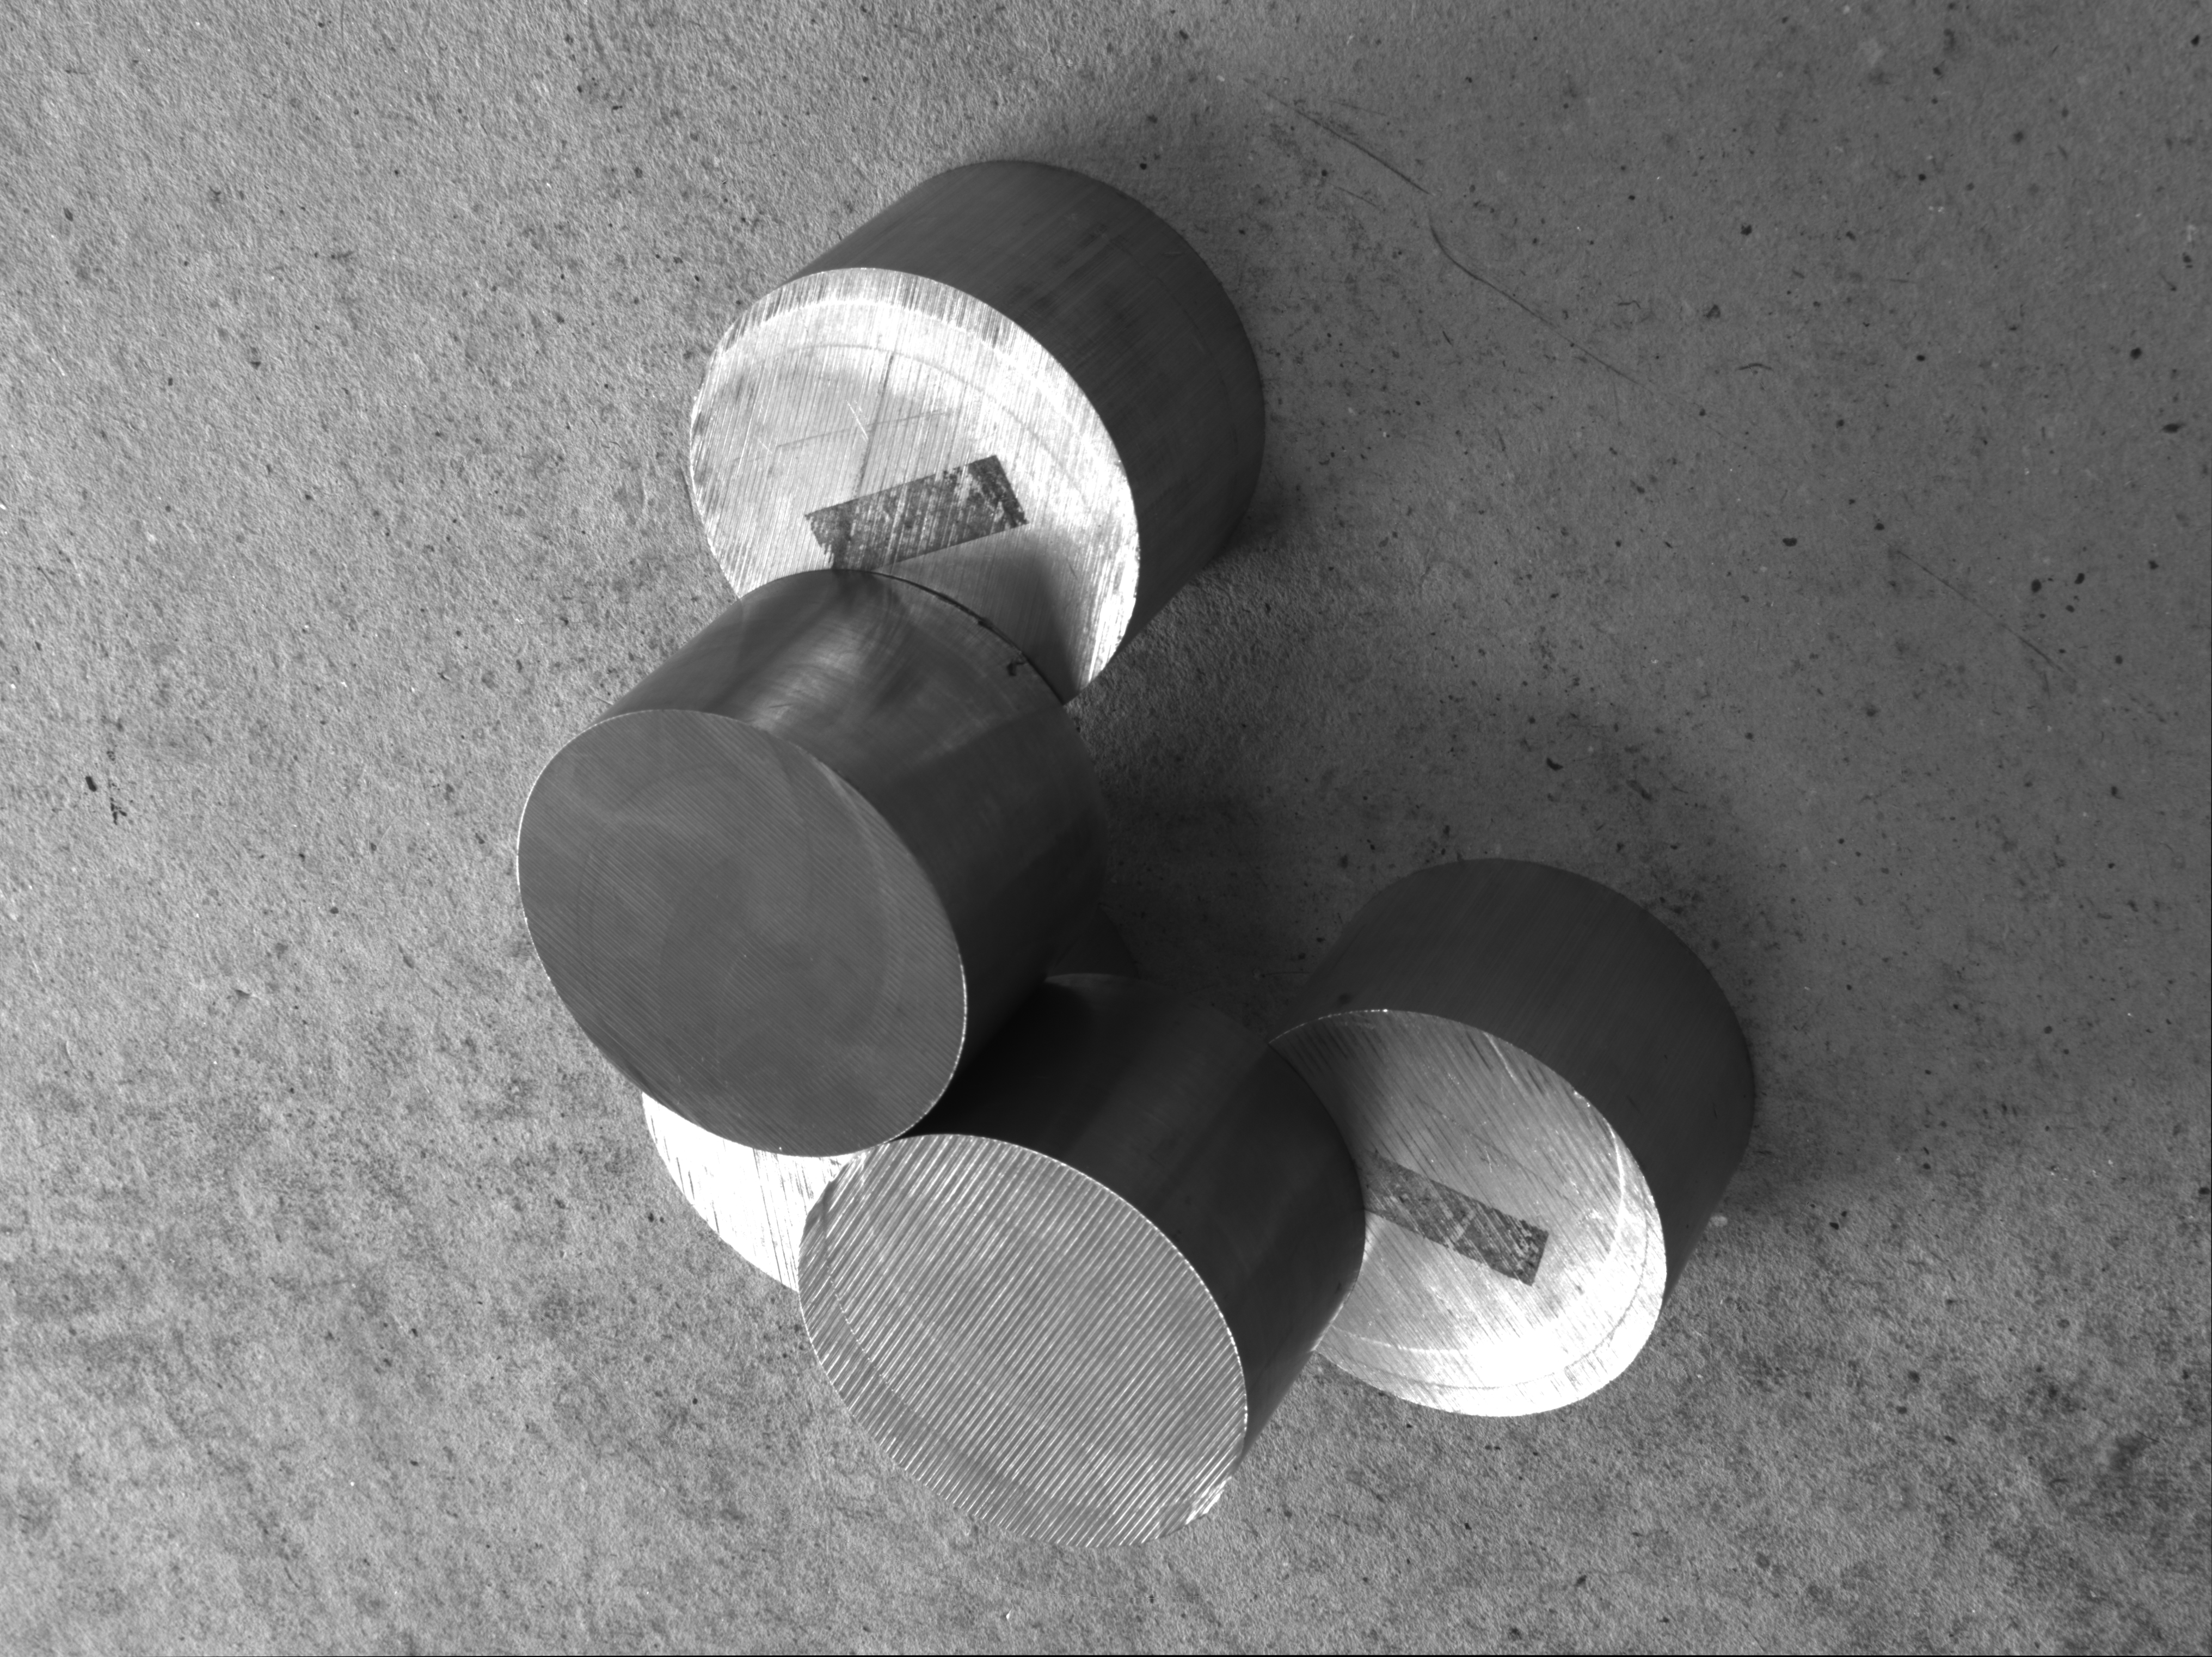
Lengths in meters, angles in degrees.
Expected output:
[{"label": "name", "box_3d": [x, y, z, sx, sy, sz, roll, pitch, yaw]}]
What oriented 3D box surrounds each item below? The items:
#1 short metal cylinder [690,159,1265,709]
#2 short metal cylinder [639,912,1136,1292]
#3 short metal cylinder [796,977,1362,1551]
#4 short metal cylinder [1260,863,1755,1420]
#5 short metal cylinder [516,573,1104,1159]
[{"label": "short metal cylinder", "box_3d": [-0.021, -0.063, 0.599, 0.080, 0.050, 0.080, 13, 124, 21]}, {"label": "short metal cylinder", "box_3d": [-0.039, 0.043, 0.673, 0.080, 0.050, 0.080, 13, 124, 21]}, {"label": "short metal cylinder", "box_3d": [-0.004, 0.072, 0.607, 0.080, 0.050, 0.080, 13, 123, 21]}, {"label": "short metal cylinder", "box_3d": [0.064, 0.053, 0.624, 0.080, 0.050, 0.080, 13, 124, 21]}, {"label": "short metal cylinder", "box_3d": [-0.047, 0.006, 0.590, 0.080, 0.050, 0.080, 14, 124, 21]}]
